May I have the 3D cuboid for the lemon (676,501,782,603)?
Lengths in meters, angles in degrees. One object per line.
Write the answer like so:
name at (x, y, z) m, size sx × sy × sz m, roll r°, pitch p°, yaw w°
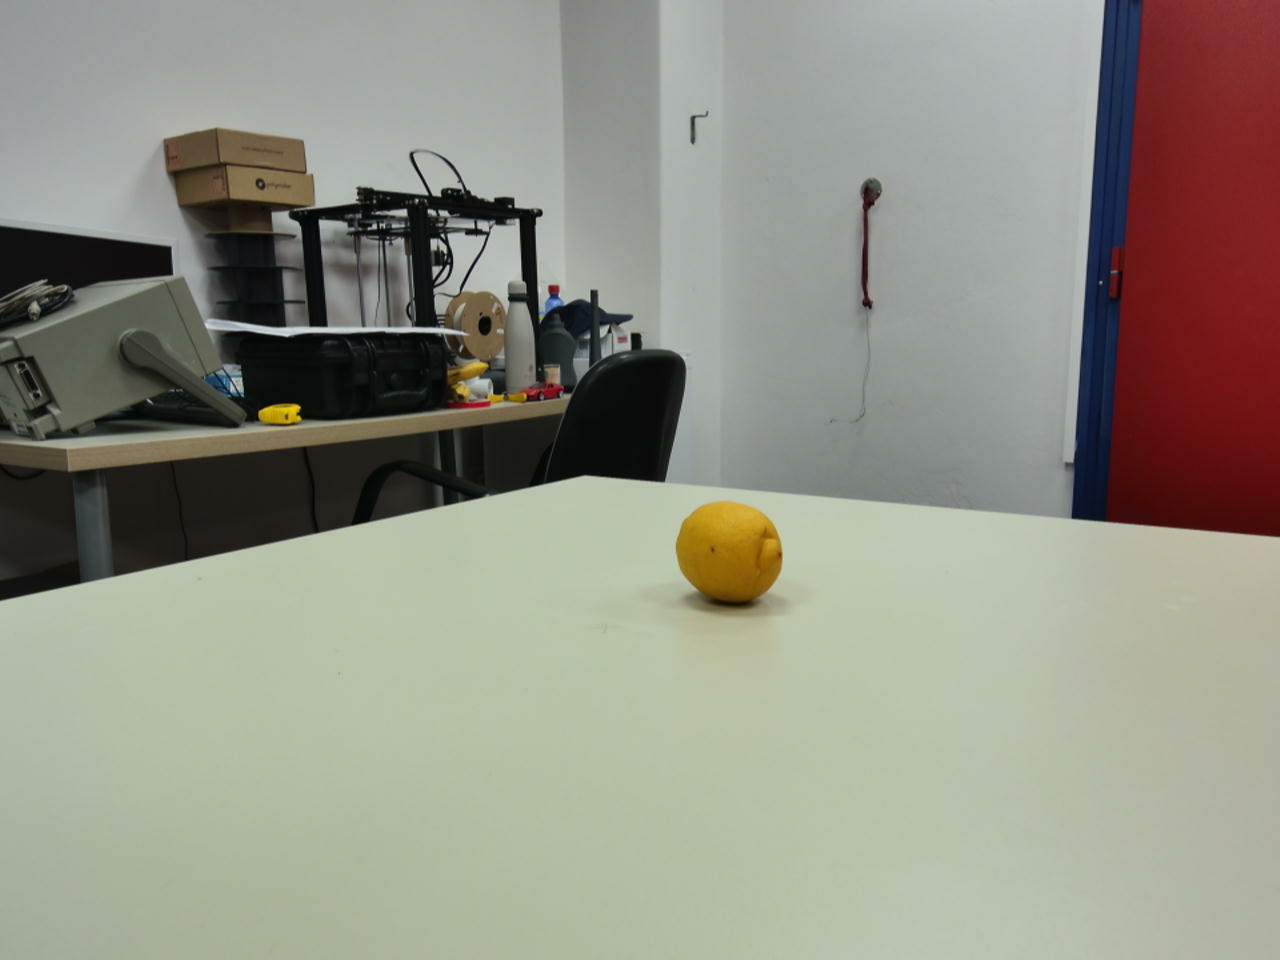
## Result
lemon at (0.053, 0.043, 0.604) m, size 0.061 × 0.059 × 0.067 m, roll -1°, pitch 7°, yaw -13°
